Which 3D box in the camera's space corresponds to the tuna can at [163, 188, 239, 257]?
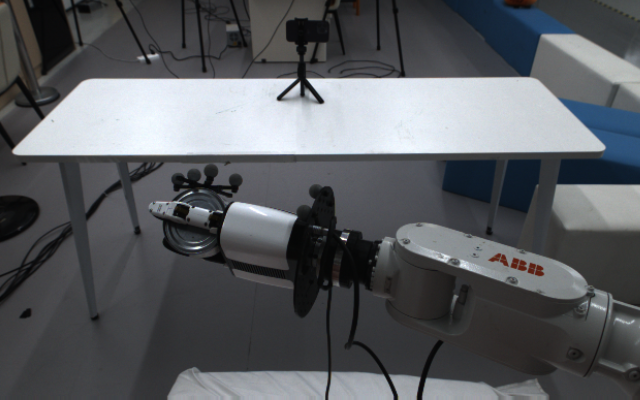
[{"bbox_3d":[-0.151,0.030,0.615,0.085,0.034,0.085,-3,73,9],"label":"tuna can"}]
